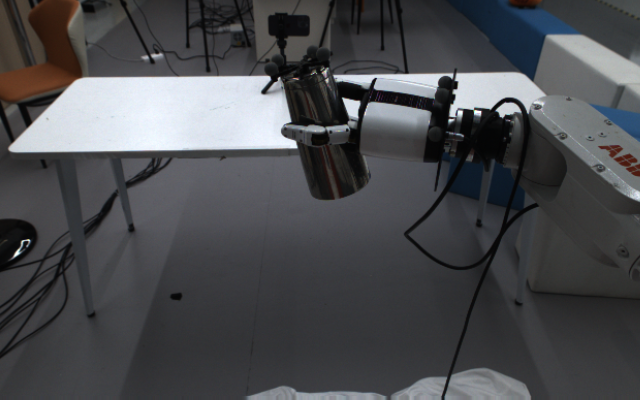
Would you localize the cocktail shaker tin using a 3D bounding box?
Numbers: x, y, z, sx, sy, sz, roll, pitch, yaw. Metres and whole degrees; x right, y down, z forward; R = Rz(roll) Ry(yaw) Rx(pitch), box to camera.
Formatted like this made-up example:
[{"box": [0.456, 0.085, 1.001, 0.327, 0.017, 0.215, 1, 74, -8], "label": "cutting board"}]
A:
[{"box": [0.005, -0.097, 0.664, 0.093, 0.170, 0.093, -15, 29, 8], "label": "cocktail shaker tin"}]
